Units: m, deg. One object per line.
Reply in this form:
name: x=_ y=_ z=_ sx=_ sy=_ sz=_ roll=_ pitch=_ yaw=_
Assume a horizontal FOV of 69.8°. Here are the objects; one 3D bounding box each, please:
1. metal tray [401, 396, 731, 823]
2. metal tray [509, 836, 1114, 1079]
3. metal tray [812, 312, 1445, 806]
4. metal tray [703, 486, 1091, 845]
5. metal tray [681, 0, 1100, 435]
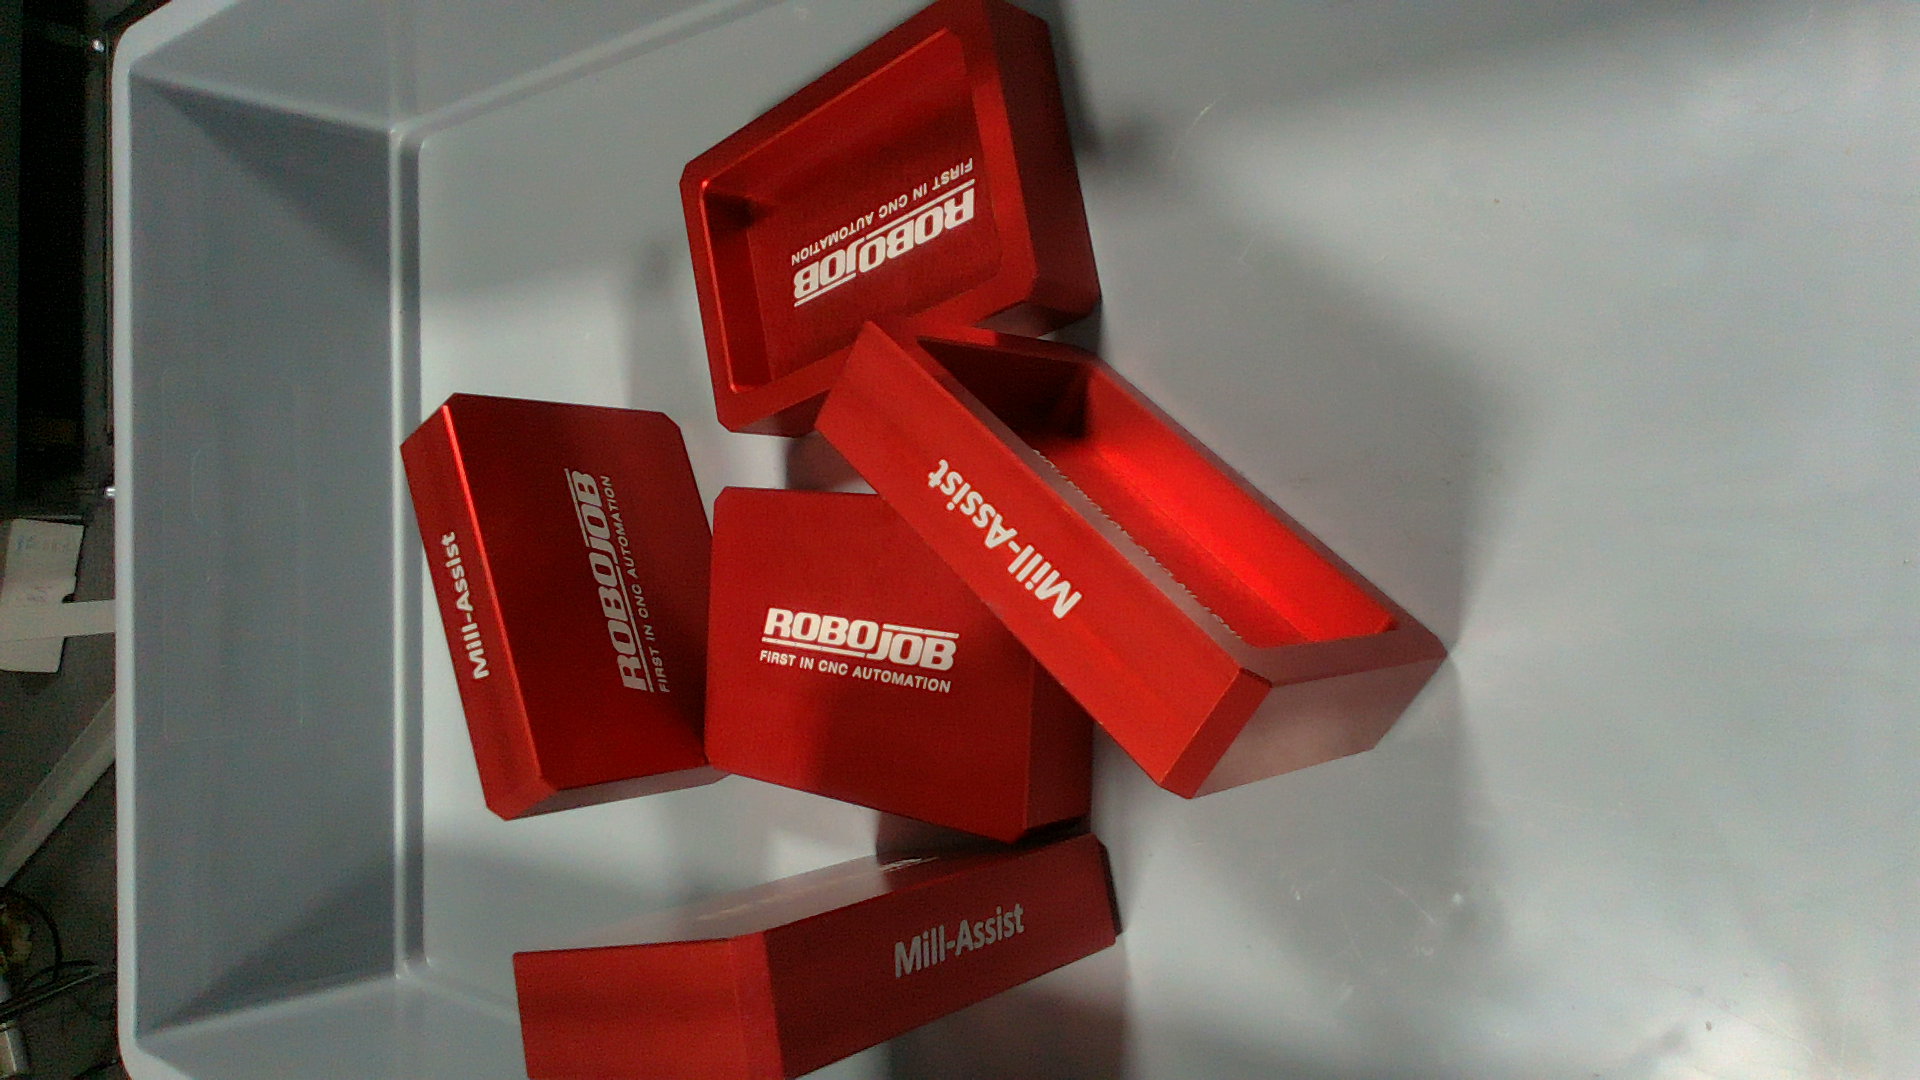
metal tray: x=-0.122 y=0.020 z=0.452 sx=0.030 sy=0.090 sz=0.130 roll=-30 pitch=71 yaw=35
metal tray: x=-0.033 y=0.105 z=0.351 sx=0.090 sy=0.131 sz=0.030 roll=-16 pitch=80 yaw=38
metal tray: x=0.038 y=-0.001 z=0.318 sx=0.130 sy=0.090 sz=0.030 roll=46 pitch=118 yaw=30
metal tray: x=-0.022 y=0.031 z=0.406 sx=0.129 sy=0.030 sz=0.090 roll=4 pitch=93 yaw=40
metal tray: x=-0.026 y=-0.092 z=0.411 sx=0.129 sy=0.030 sz=0.090 roll=-17 pitch=79 yaw=39
